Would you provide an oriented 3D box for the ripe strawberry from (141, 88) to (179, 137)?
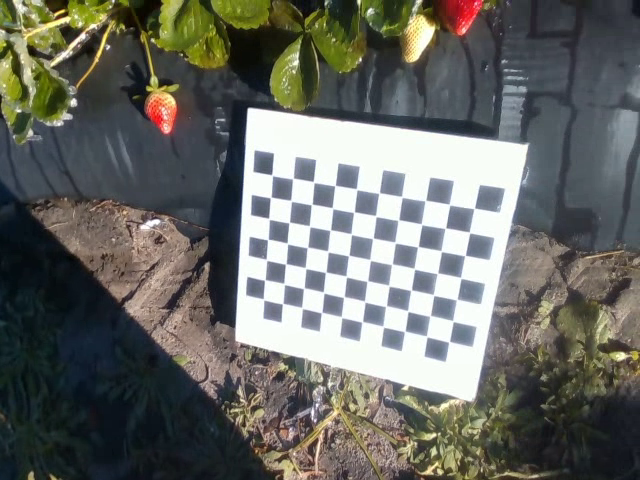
[{"bbox_3d":[-0.173,-0.139,0.611,0.039,0.053,0.040,-12,-7,21],"label":"ripe strawberry"}]
